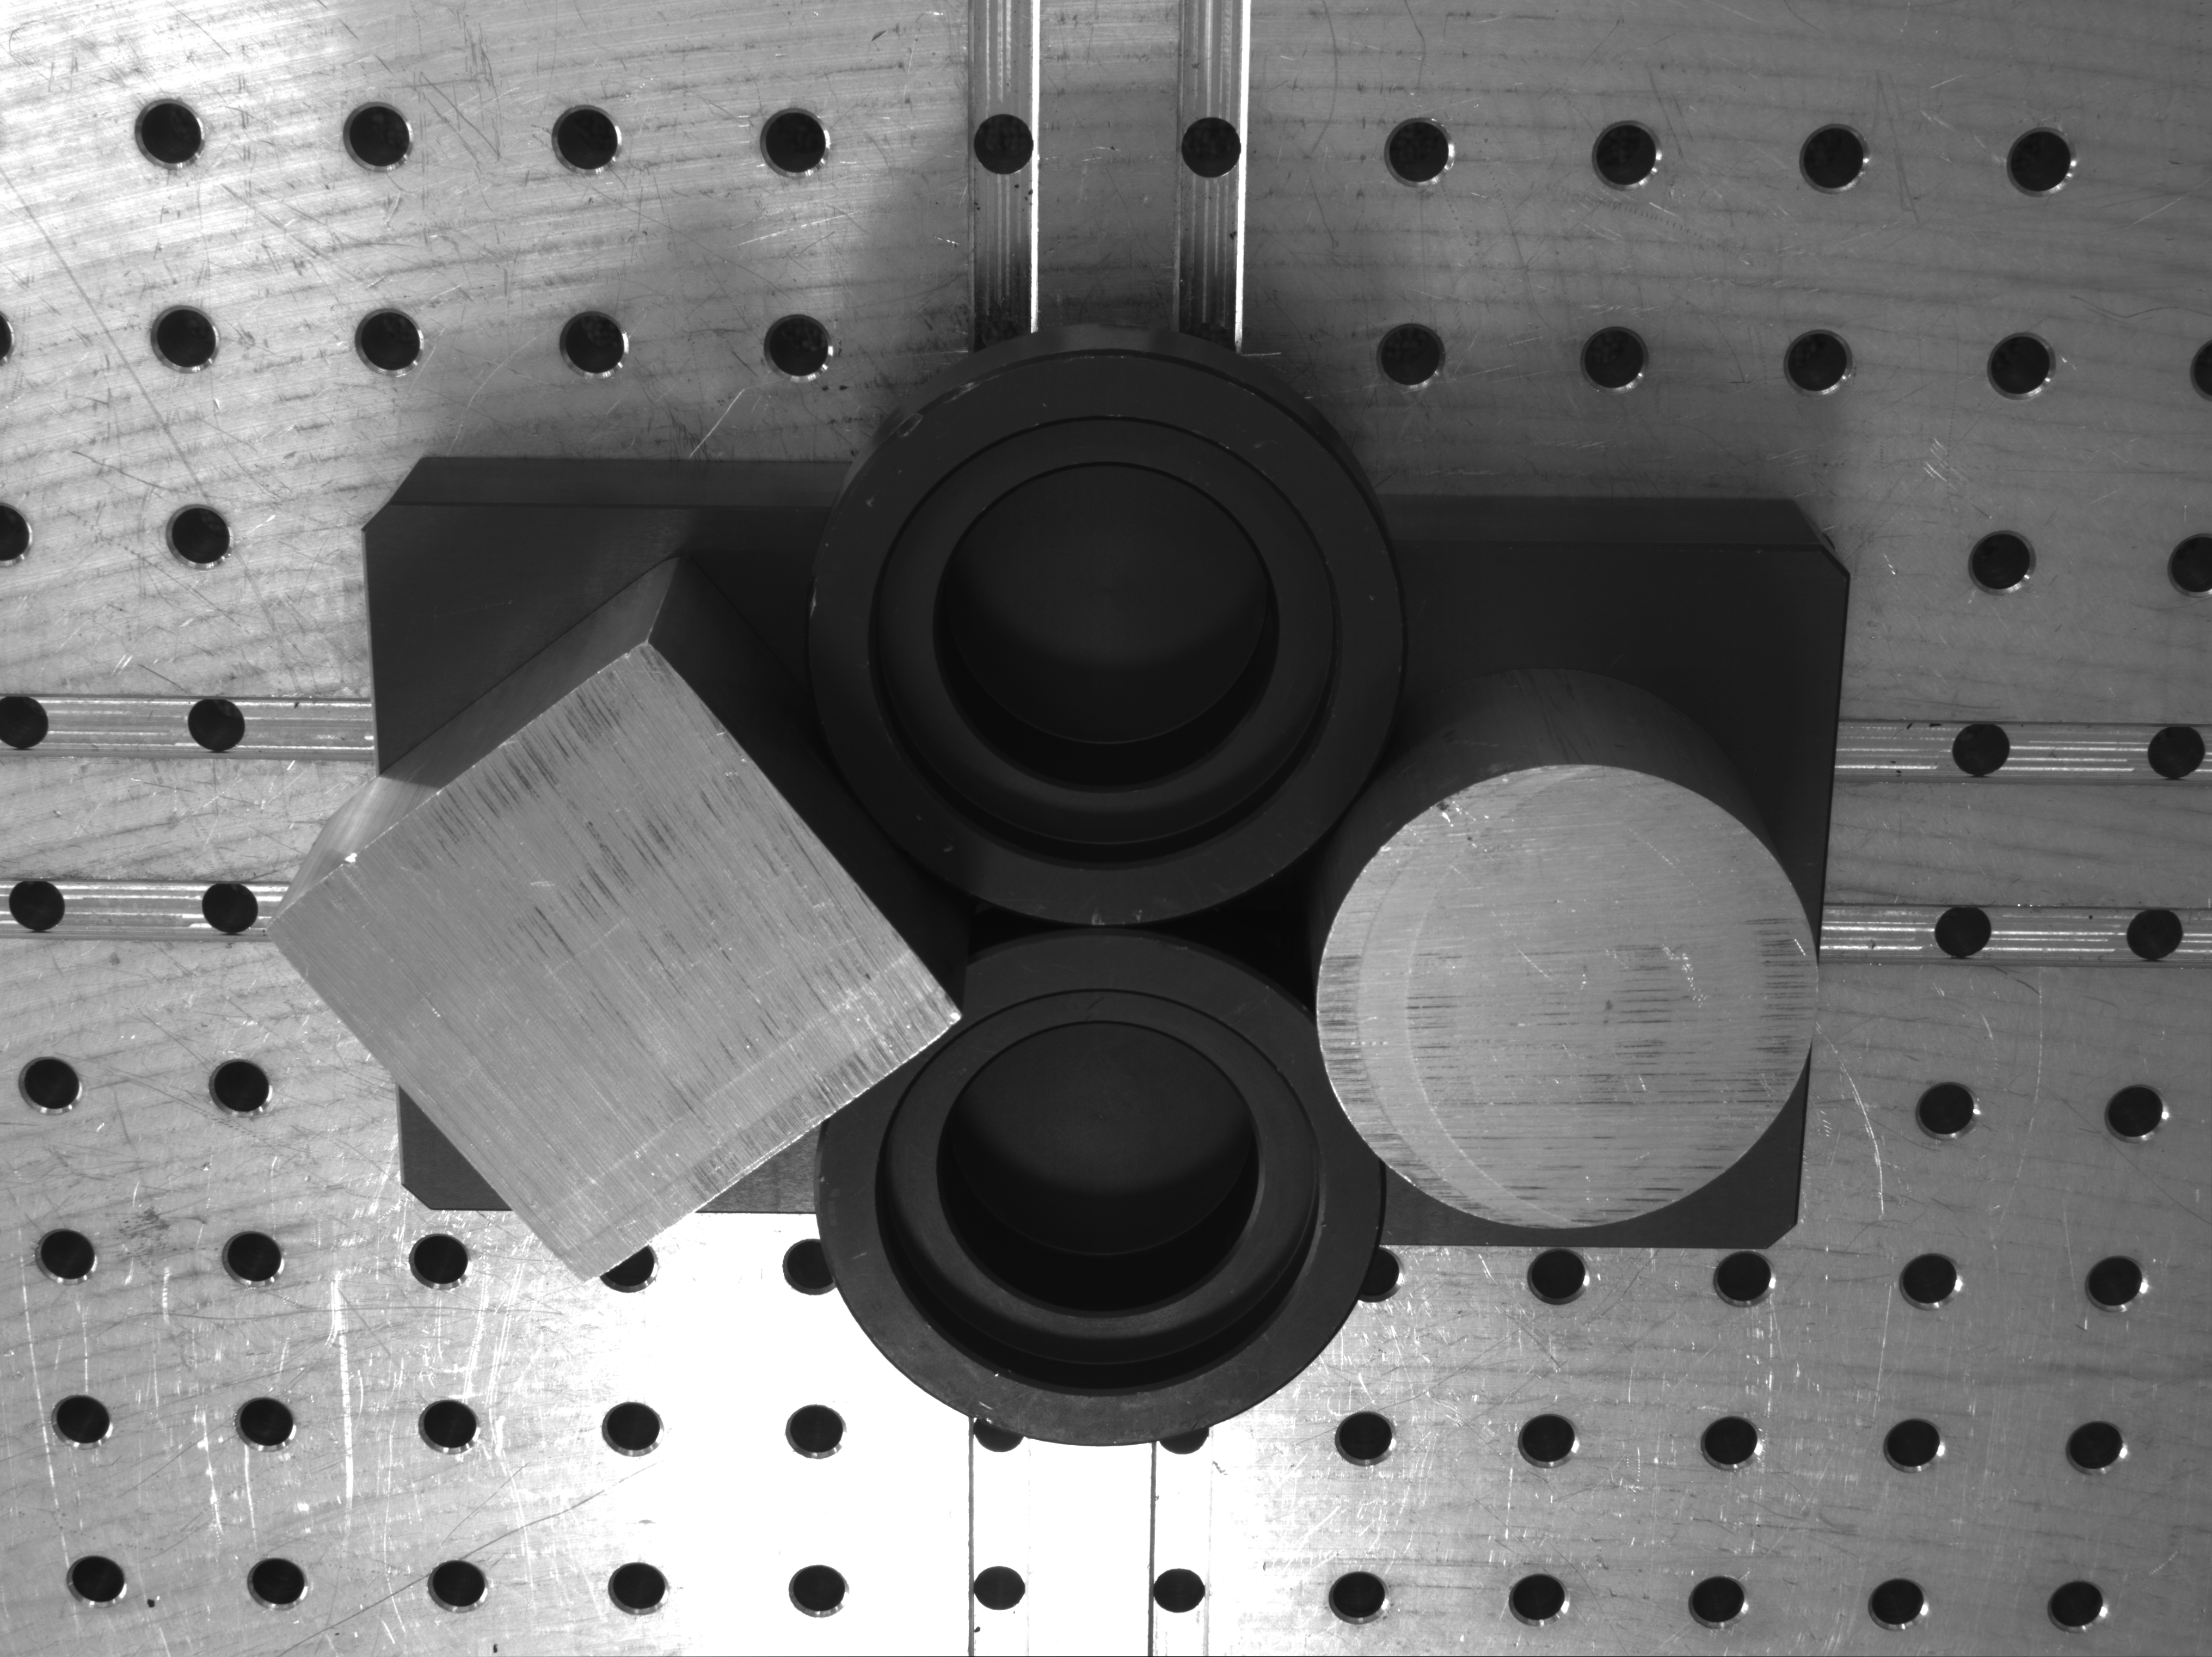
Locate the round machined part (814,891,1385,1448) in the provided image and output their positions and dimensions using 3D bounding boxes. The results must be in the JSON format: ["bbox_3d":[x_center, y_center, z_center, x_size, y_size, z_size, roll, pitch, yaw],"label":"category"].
[{"bbox_3d":[-0.001,0.056,0.648,0.098,0.042,0.098,0,110,0],"label":"round machined part"}]

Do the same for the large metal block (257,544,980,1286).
[{"bbox_3d":[-0.078,0.014,0.606,0.080,0.050,0.080,-35,106,12],"label":"large metal block"}]

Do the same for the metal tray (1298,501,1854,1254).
[{"bbox_3d":[0.079,0.009,0.645,0.090,0.030,0.130,1,110,0],"label":"metal tray"}]

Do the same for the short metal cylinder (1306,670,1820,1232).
[{"bbox_3d":[0.074,0.020,0.608,0.080,0.050,0.080,0,110,0],"label":"short metal cylinder"}]

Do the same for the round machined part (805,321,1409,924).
[{"bbox_3d":[0.000,-0.037,0.614,0.098,0.042,0.098,0,110,0],"label":"round machined part"}]

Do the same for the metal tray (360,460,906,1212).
[{"bbox_3d":[-0.079,0.002,0.644,0.090,0.030,0.130,0,110,-1],"label":"metal tray"}]
